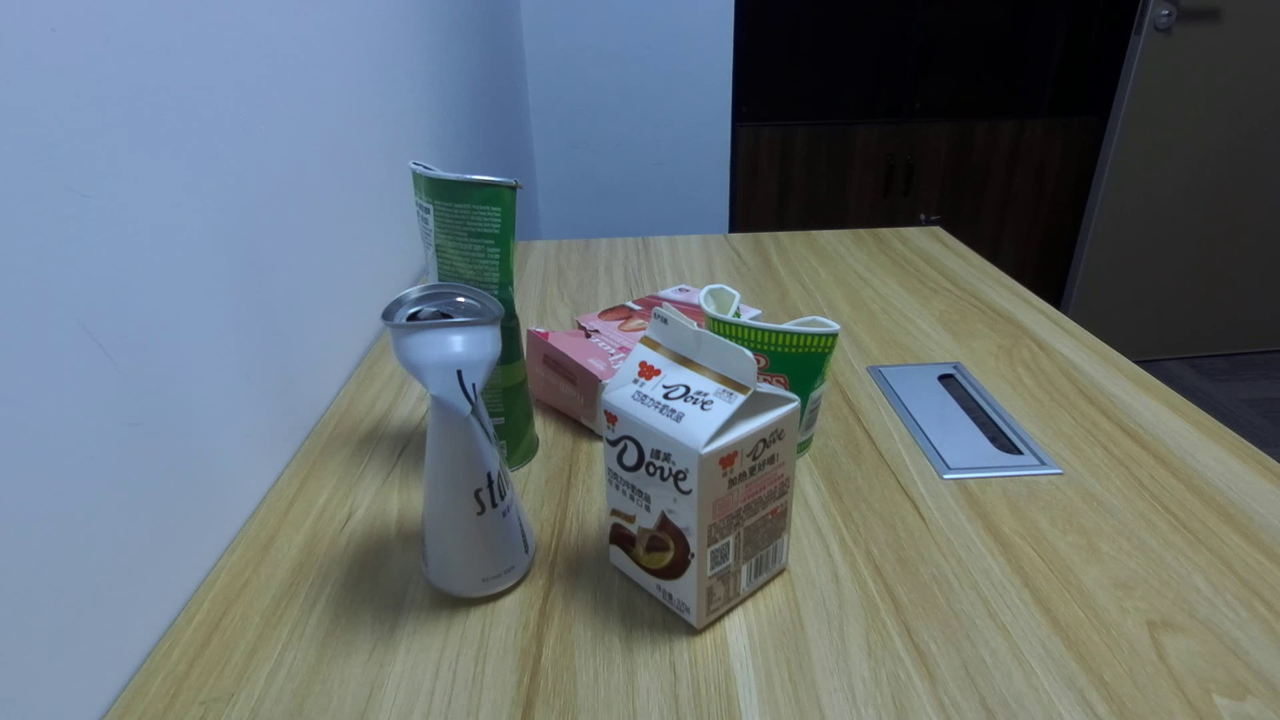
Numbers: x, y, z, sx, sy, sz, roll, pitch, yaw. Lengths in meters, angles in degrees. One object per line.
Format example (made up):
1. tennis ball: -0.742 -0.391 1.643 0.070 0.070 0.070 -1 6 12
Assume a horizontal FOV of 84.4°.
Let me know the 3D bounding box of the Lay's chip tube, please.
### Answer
1. Lay's chip tube: -0.109 -0.023 0.464 0.077 0.201 0.069 2 27 2

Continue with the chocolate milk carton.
1. chocolate milk carton: 0.031 0.048 0.365 0.074 0.148 0.075 -22 32 -35

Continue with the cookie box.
1. cookie box: 0.008 -0.007 0.592 0.186 0.059 0.104 -21 36 -38

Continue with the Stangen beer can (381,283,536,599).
1. Stangen beer can: -0.092 0.046 0.369 0.077 0.162 0.066 15 31 31

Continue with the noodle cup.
1. noodle cup: 0.085 0.006 0.480 0.075 0.122 0.082 -13 39 -3
